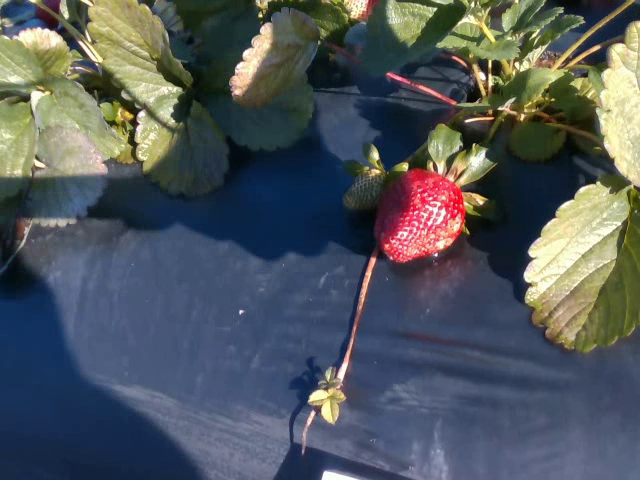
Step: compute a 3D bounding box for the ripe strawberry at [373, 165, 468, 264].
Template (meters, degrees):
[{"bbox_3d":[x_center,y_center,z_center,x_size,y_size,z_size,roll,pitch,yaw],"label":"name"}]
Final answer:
[{"bbox_3d":[0.040,-0.008,0.253,0.041,0.043,0.053,21,37,22],"label":"ripe strawberry"}]
